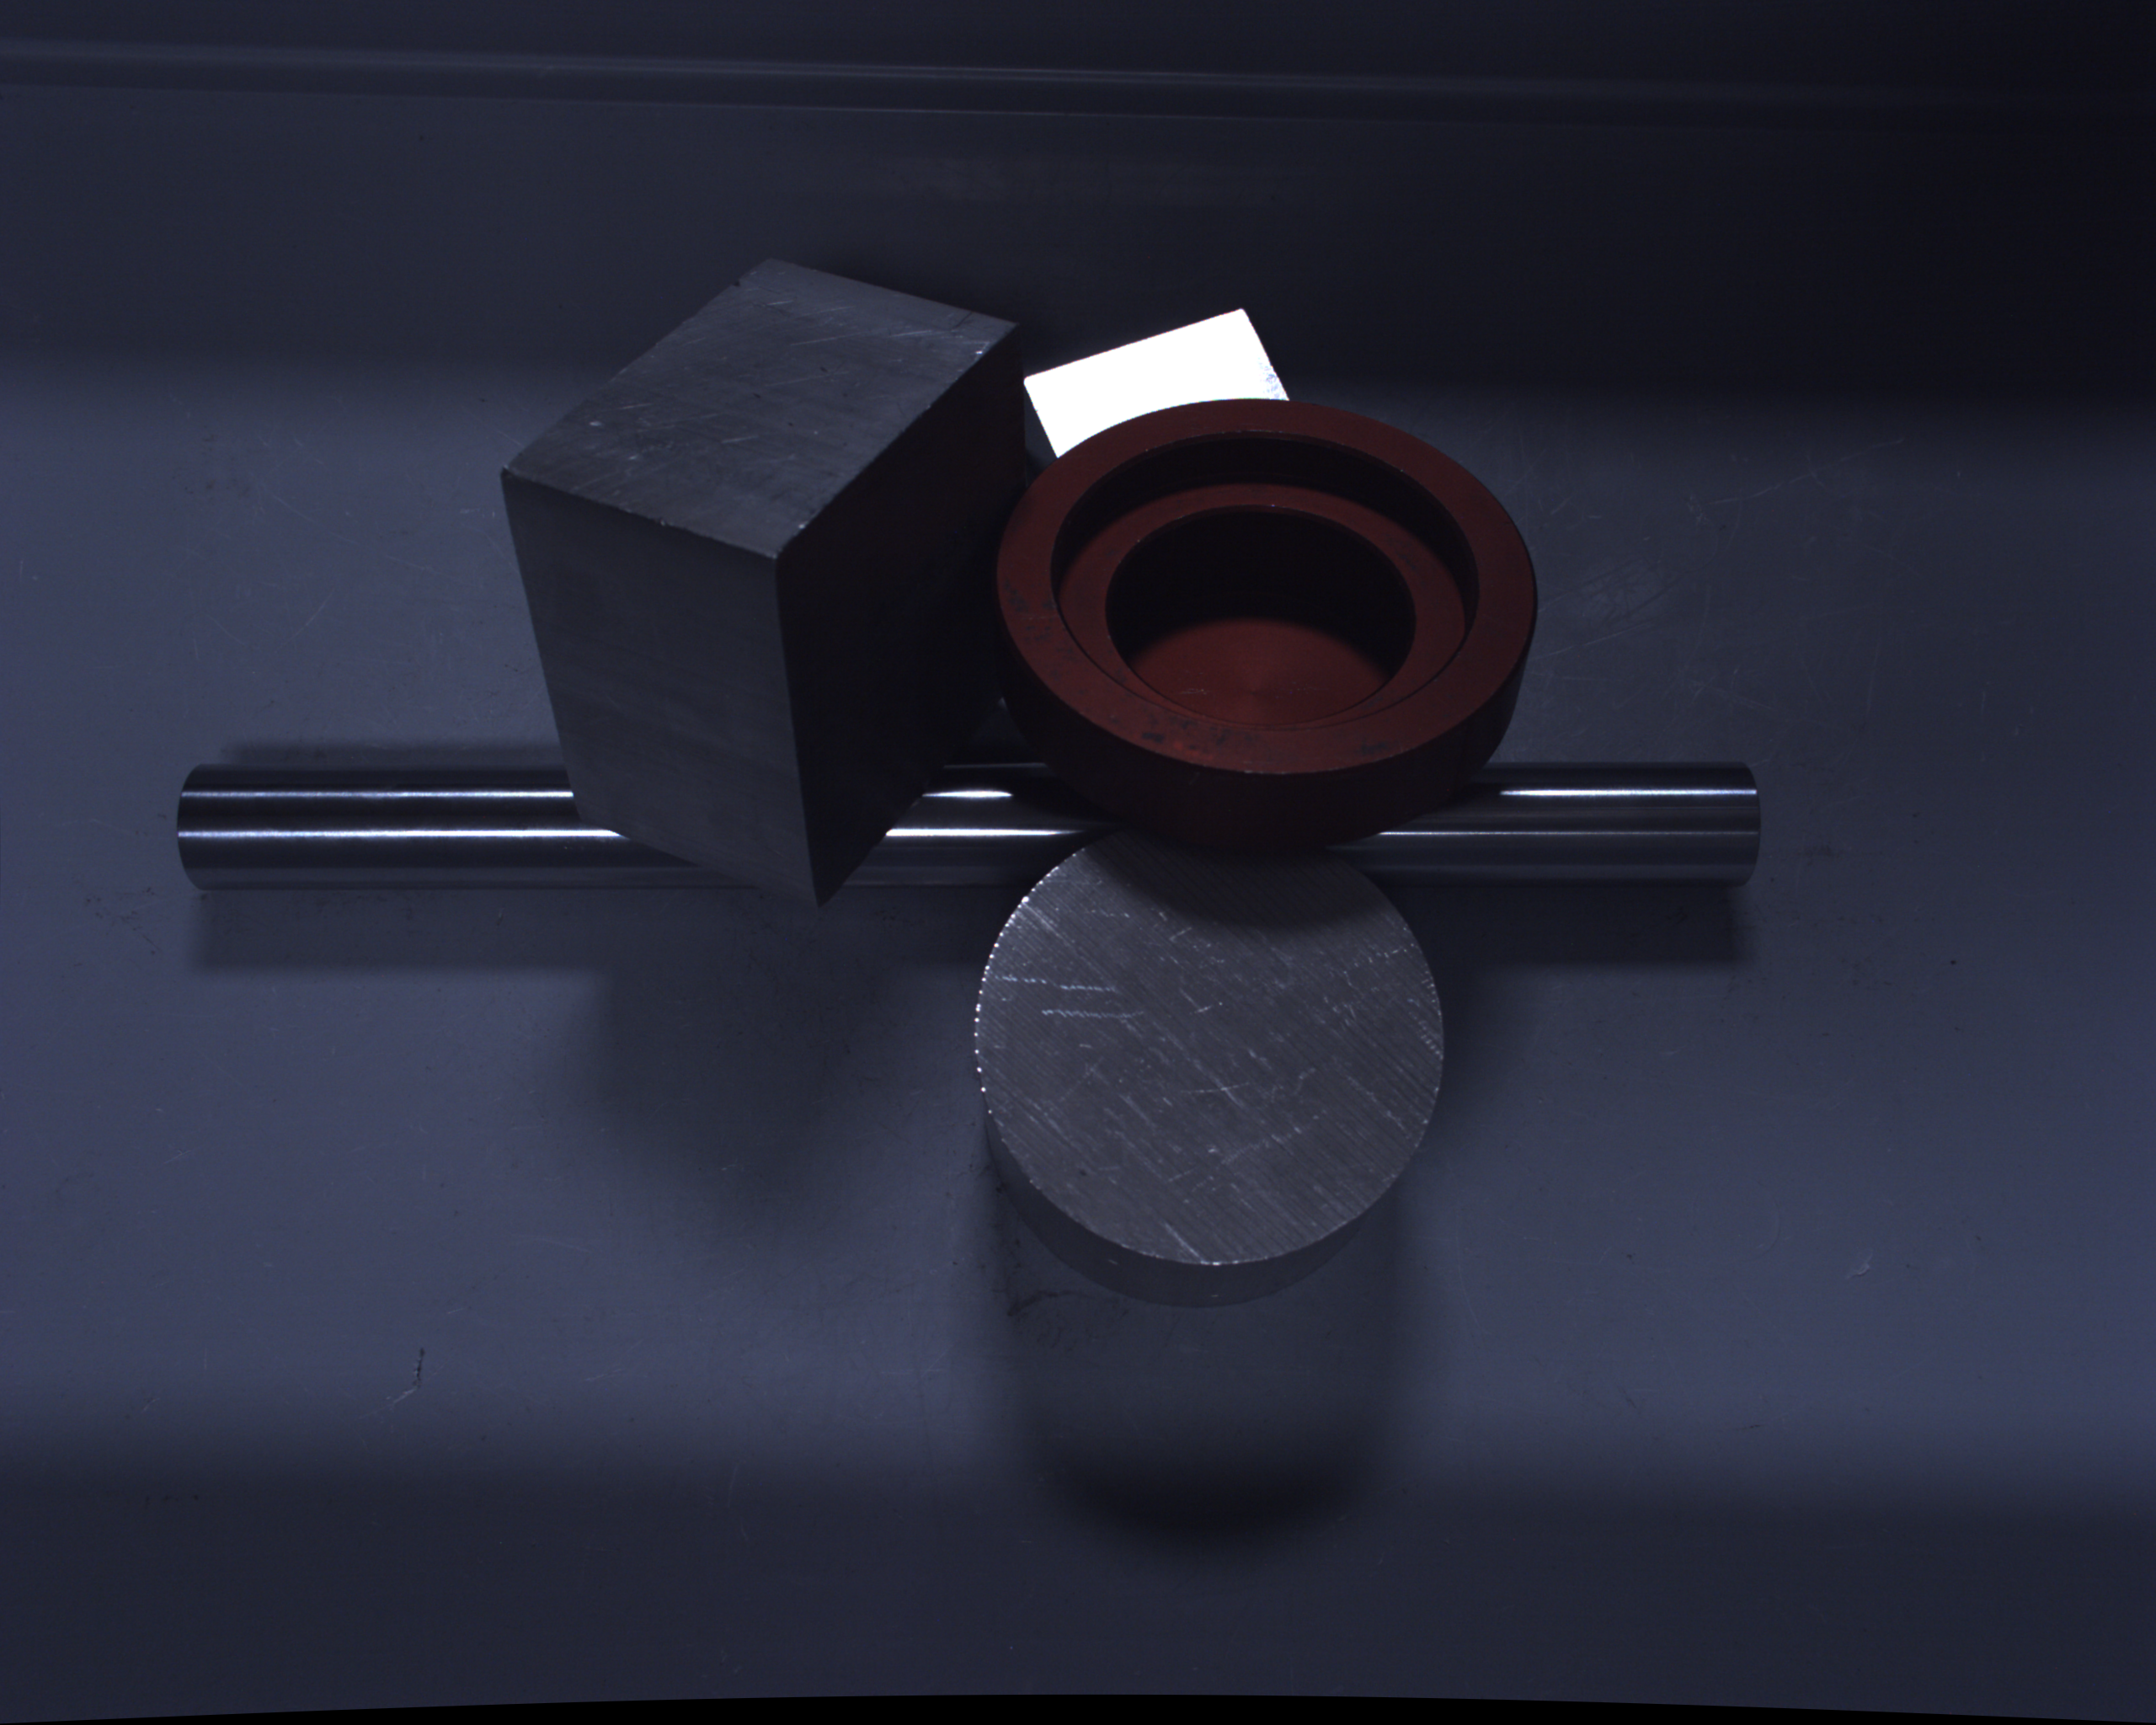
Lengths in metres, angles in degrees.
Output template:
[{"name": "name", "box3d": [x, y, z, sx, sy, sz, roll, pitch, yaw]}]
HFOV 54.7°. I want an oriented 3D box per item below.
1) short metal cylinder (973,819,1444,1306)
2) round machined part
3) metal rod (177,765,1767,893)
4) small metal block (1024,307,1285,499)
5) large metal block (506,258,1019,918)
[{"name": "short metal cylinder", "box3d": [0.022, 0.037, 0.380, 0.081, 0.050, 0.080, 0, 70, 0]}, {"name": "round machined part", "box3d": [0.034, -0.040, 0.394, 0.099, 0.042, 0.098, 0, 52, 0]}, {"name": "metal rod", "box3d": [-0.019, -0.007, 0.409, 0.302, 0.025, 0.025, 0, 70, -1]}, {"name": "small metal block", "box3d": [0.020, -0.083, 0.439, 0.050, 0.025, 0.050, -20, 71, -8]}, {"name": "large metal block", "box3d": [-0.052, -0.051, 0.381, 0.050, 0.079, 0.080, 20, 48, 18]}]
